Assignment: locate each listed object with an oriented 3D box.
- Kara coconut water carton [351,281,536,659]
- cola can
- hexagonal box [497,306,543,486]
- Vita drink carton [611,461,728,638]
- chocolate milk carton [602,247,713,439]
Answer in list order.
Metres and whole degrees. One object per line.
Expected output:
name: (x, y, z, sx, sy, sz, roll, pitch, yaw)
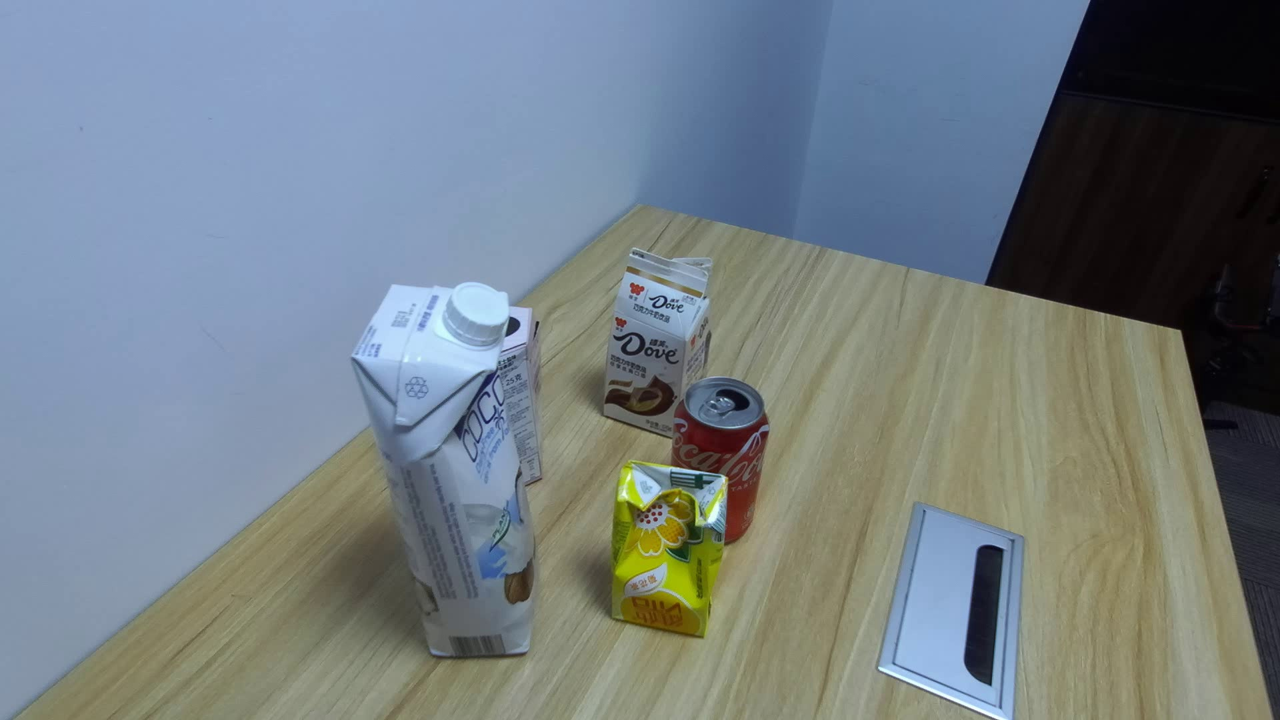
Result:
Kara coconut water carton: (-0.101, 0.067, 0.406, 0.071, 0.244, 0.099, 0, 37, -1)
cola can: (0.055, 0.073, 0.510, 0.068, 0.120, 0.067, 2, 36, -1)
hexagonal box: (-0.117, 0.032, 0.546, 0.085, 0.135, 0.092, -2, 38, -5)
Vita drink carton: (0.017, 0.123, 0.450, 0.071, 0.110, 0.046, 8, 35, 10)
chocolate milk carton: (0.015, -0.021, 0.602, 0.084, 0.155, 0.073, 16, 38, 18)
